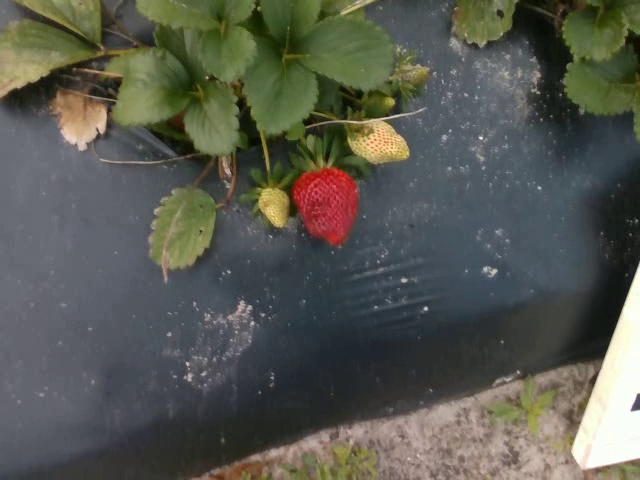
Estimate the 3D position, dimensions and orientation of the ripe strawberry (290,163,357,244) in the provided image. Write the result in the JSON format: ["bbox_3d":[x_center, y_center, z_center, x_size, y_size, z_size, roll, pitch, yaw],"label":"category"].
[{"bbox_3d":[0.006,-0.017,0.409,0.046,0.059,0.046,-12,-30,-3],"label":"ripe strawberry"}]
